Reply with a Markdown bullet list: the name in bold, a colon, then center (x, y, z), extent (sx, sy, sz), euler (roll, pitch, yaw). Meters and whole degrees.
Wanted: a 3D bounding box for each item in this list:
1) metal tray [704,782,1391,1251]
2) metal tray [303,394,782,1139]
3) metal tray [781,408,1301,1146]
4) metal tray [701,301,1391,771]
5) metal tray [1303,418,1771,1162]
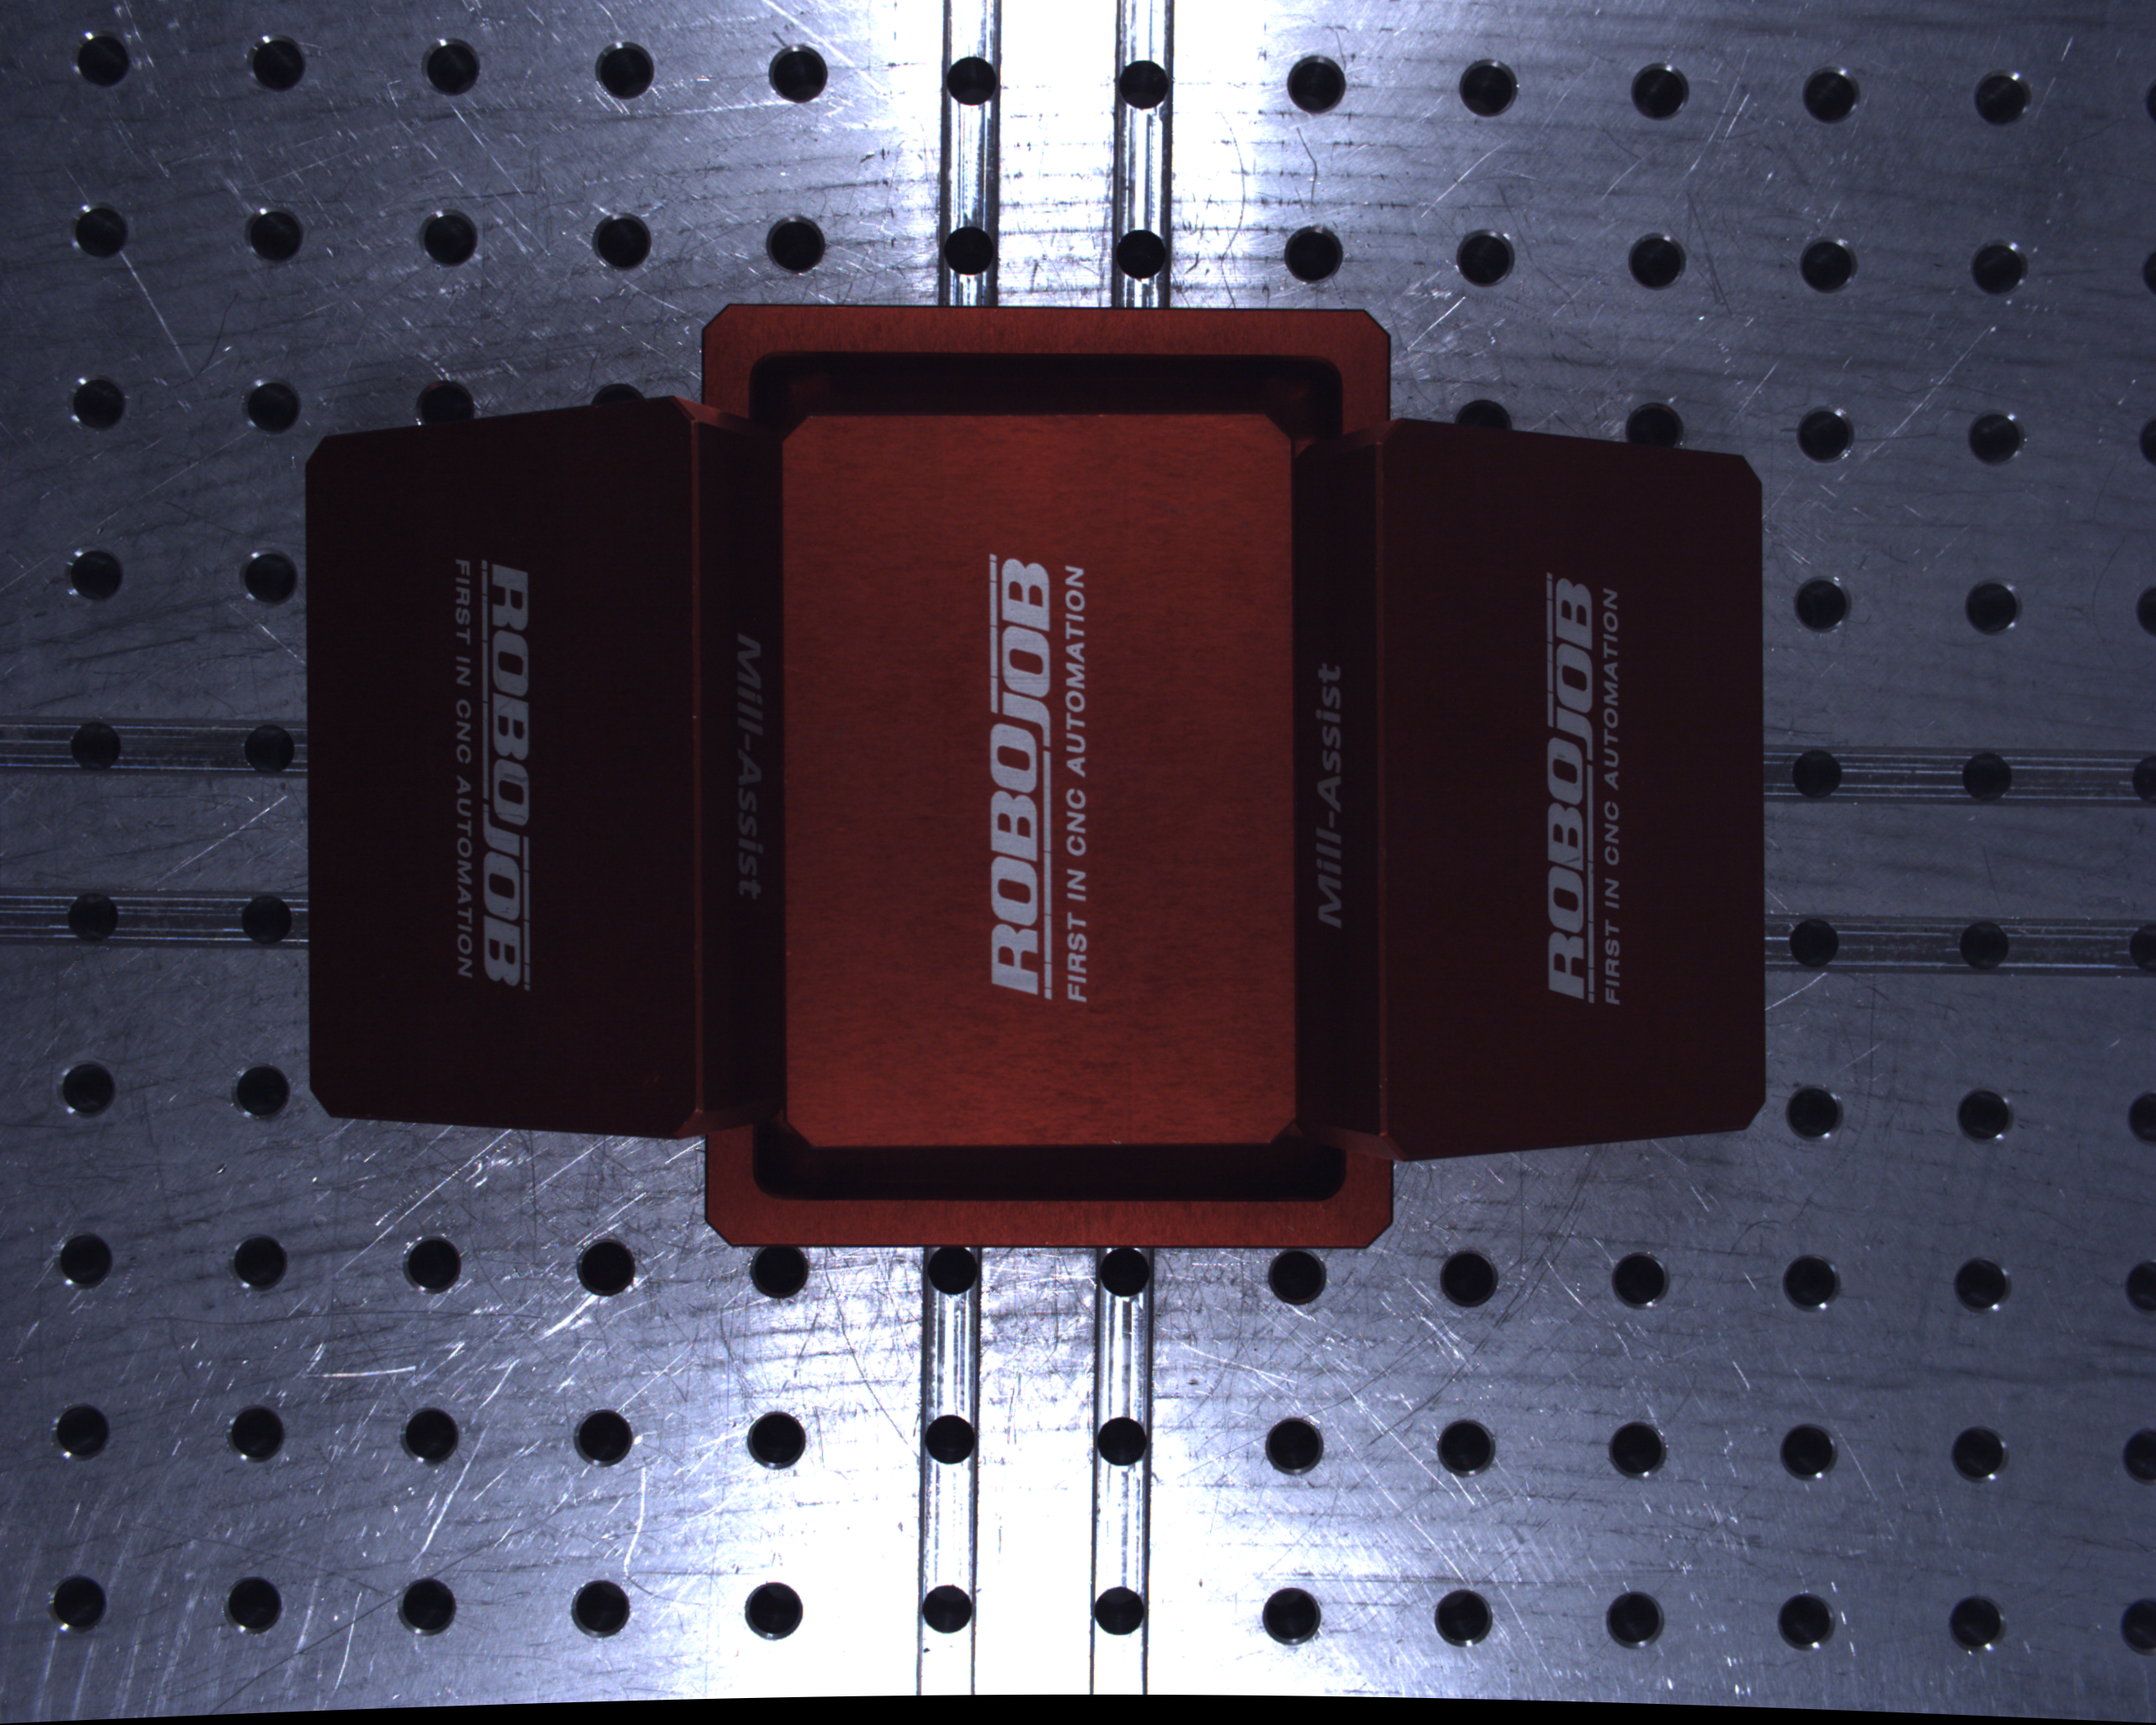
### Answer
- **metal tray**: center (-0.006, 0.029, 0.411), extent (0.131, 0.030, 0.089), euler (0, 90, -1)
- **metal tray**: center (-0.101, -0.017, 0.392), extent (0.090, 0.030, 0.129), euler (0, 90, 25)
- **metal tray**: center (-0.006, -0.015, 0.380), extent (0.091, 0.030, 0.129), euler (0, 90, -1)
- **metal tray**: center (-0.006, -0.061, 0.410), extent (0.131, 0.030, 0.089), euler (0, 90, -1)
- **metal tray**: center (0.086, -0.013, 0.393), extent (0.091, 0.030, 0.129), euler (-1, 90, -28)
